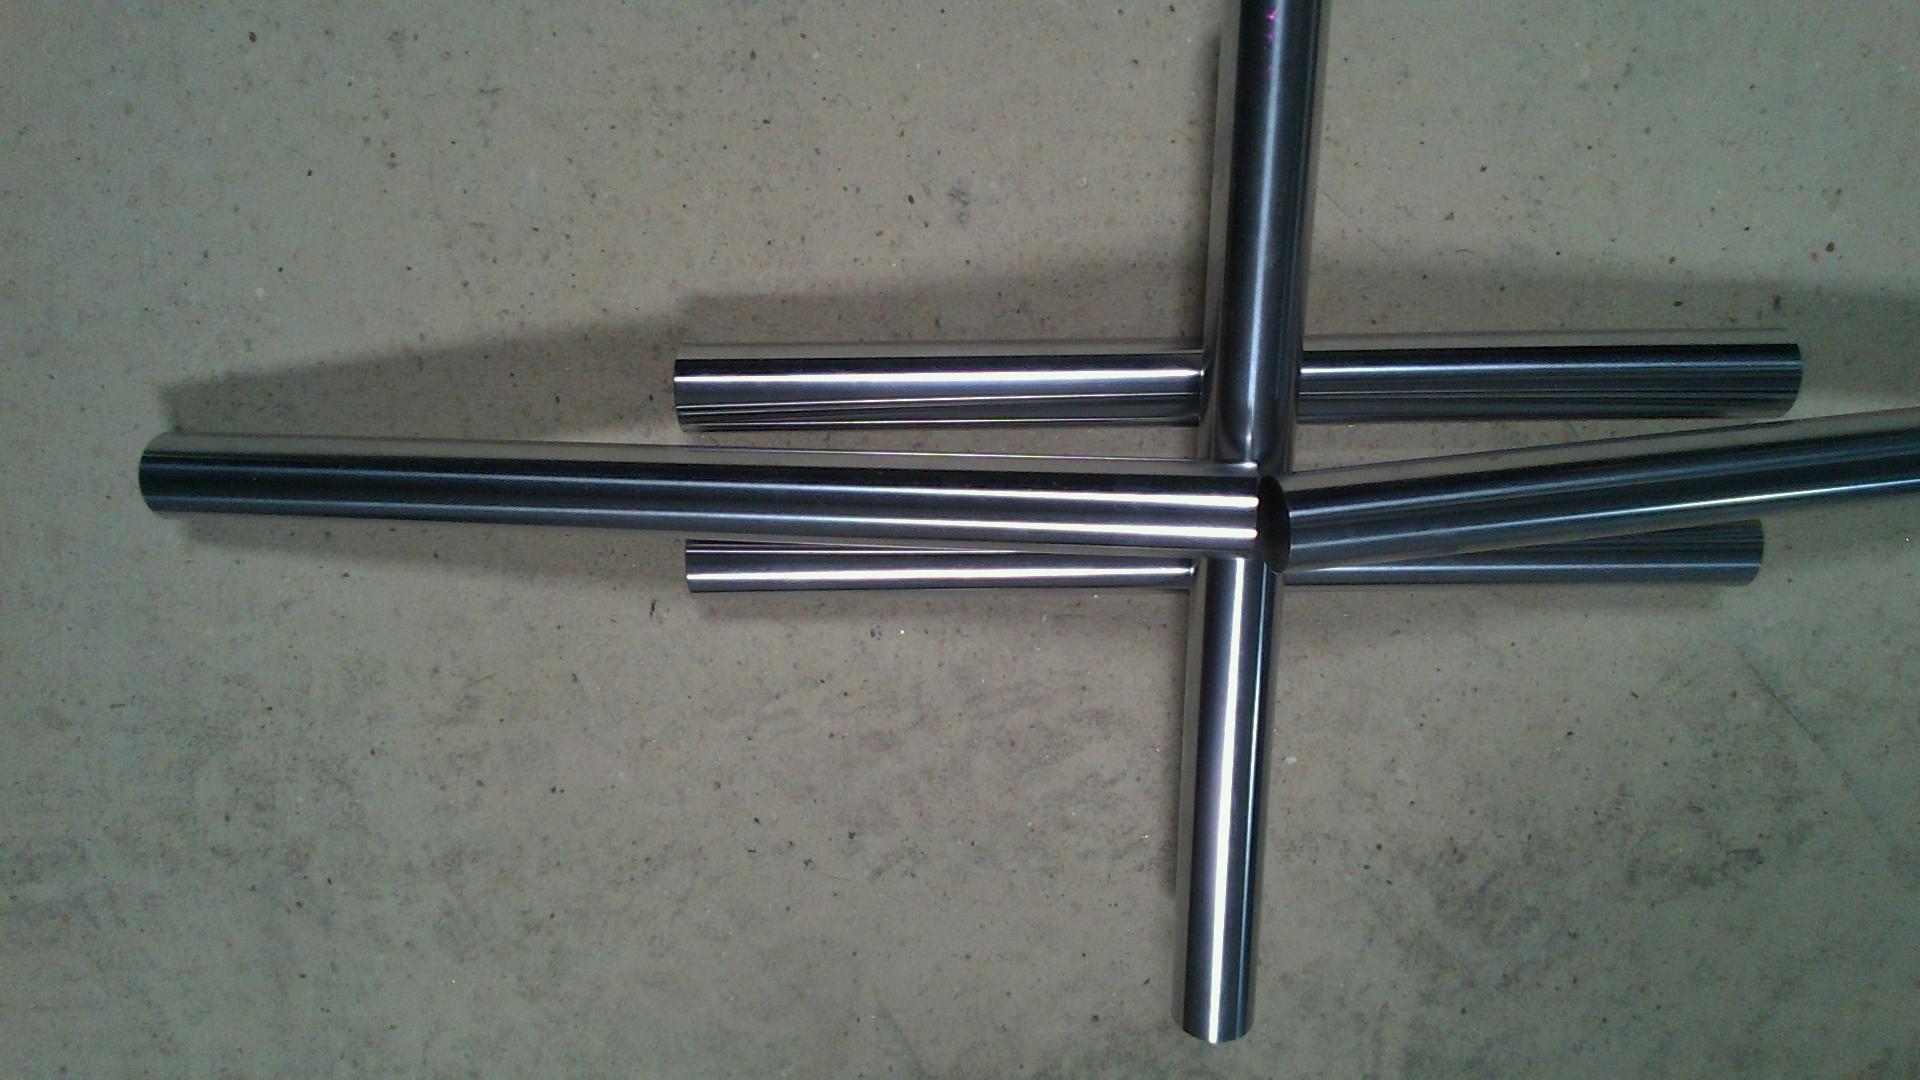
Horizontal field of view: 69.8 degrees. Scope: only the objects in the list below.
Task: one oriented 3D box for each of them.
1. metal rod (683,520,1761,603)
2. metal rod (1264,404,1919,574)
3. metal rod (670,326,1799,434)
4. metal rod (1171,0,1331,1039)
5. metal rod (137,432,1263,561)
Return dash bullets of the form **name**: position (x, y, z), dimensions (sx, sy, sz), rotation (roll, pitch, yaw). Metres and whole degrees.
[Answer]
- **metal rod**: position (0.073, 0.003, 0.395), dimensions (0.300, 0.025, 0.025), rotation (-1, 110, 0)
- **metal rod**: position (0.224, -0.021, 0.361), dimensions (0.300, 0.025, 0.025), rotation (-6, 110, -9)
- **metal rod**: position (0.073, -0.044, 0.378), dimensions (0.300, 0.025, 0.025), rotation (-1, 110, 0)
- **metal rod**: position (0.075, 0.004, 0.369), dimensions (0.025, 0.025, 0.300), rotation (-1, 110, 0)
- **metal rod**: position (-0.074, -0.013, 0.362), dimensions (0.300, 0.025, 0.025), rotation (2, 111, 9)
